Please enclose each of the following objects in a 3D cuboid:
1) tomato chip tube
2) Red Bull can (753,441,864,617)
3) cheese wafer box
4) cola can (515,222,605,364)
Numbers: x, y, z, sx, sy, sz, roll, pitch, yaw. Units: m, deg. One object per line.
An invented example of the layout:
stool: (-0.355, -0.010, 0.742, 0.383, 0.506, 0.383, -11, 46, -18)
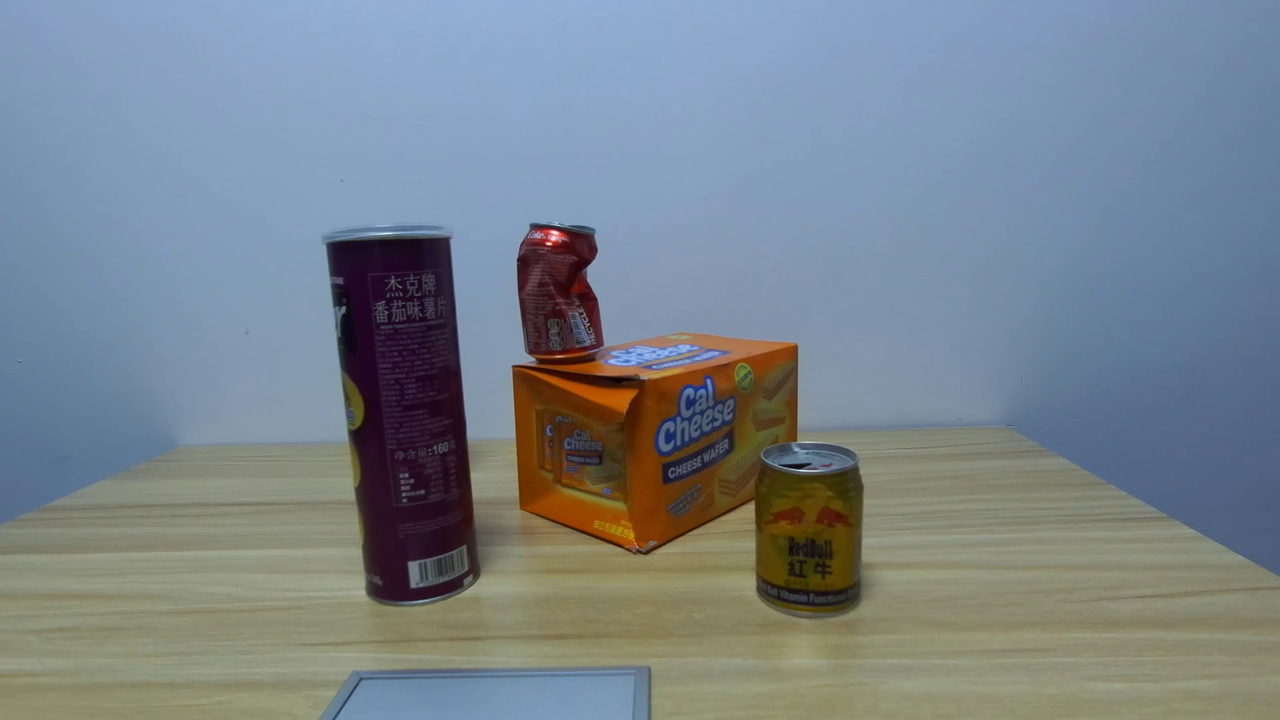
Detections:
tomato chip tube: (-0.153, 0.036, 0.466, 0.078, 0.233, 0.078, -3, 10, 1)
Red Bull can: (0.104, 0.103, 0.440, 0.069, 0.092, 0.069, -1, 11, 1)
cheese wafer box: (0.021, 0.054, 0.617, 0.149, 0.137, 0.228, 8, 14, 43)
cola can: (-0.065, -0.056, 0.582, 0.069, 0.112, 0.065, -7, 11, -26)
